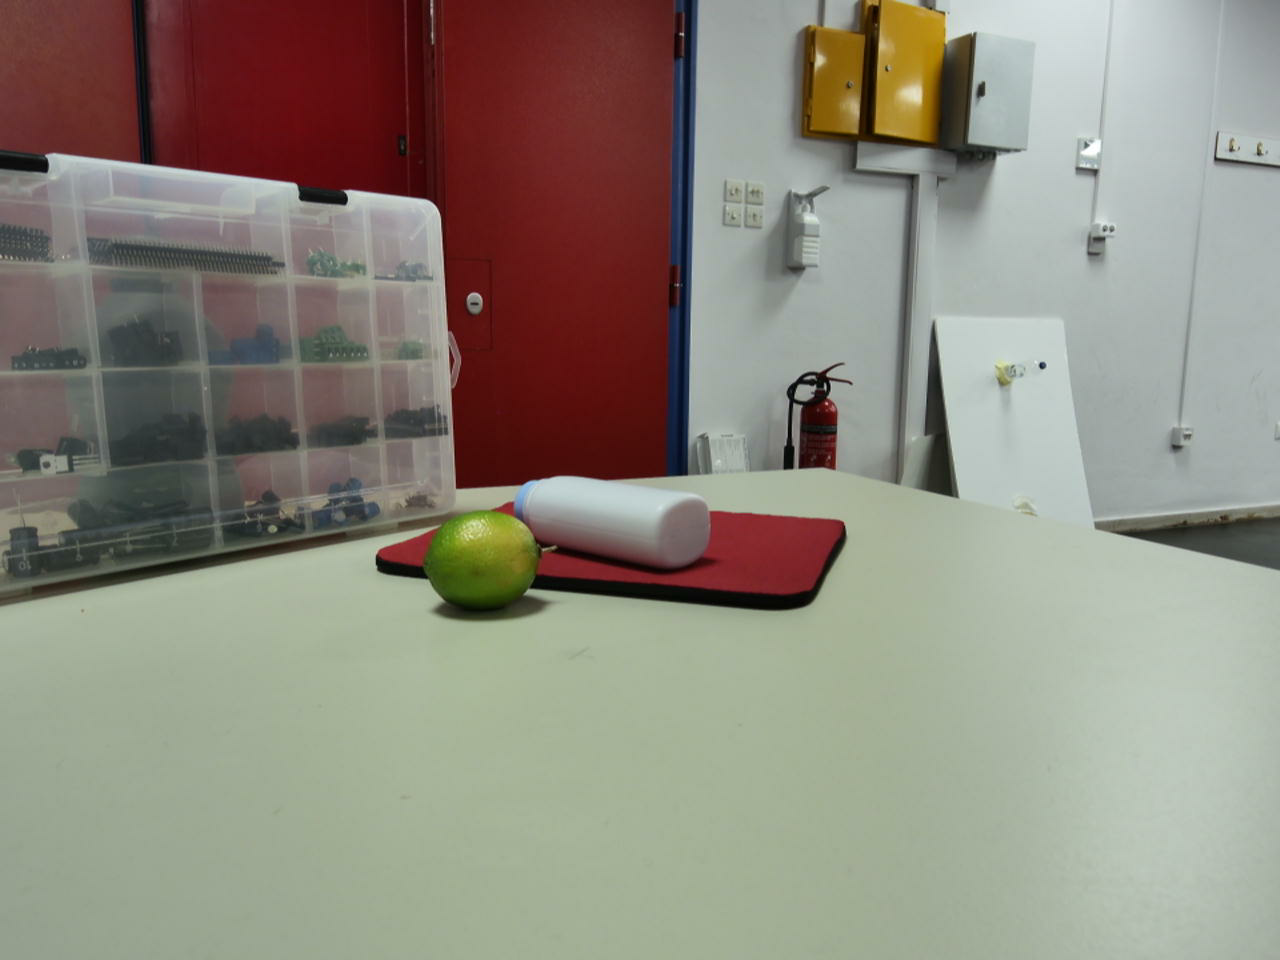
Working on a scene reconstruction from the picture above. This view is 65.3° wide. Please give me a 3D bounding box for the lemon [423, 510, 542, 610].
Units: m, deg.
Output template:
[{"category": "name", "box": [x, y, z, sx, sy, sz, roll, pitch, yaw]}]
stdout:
[{"category": "lemon", "box": [-0.082, 0.041, 0.517, 0.055, 0.050, 0.054, 2, 7, 25]}]
